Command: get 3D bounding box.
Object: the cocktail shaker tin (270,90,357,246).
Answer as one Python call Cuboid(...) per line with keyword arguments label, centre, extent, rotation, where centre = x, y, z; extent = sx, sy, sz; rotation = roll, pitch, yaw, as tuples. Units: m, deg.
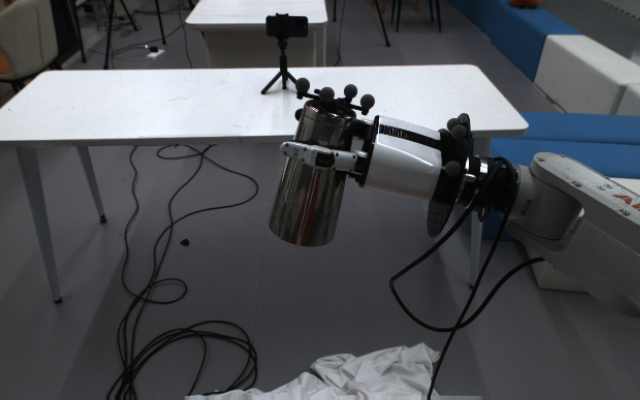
Cuboid(label="cocktail shaker tin", centre=(-0.003, -0.040, 0.624), extent=(0.093, 0.170, 0.093), rotation=(12, 25, -6))
